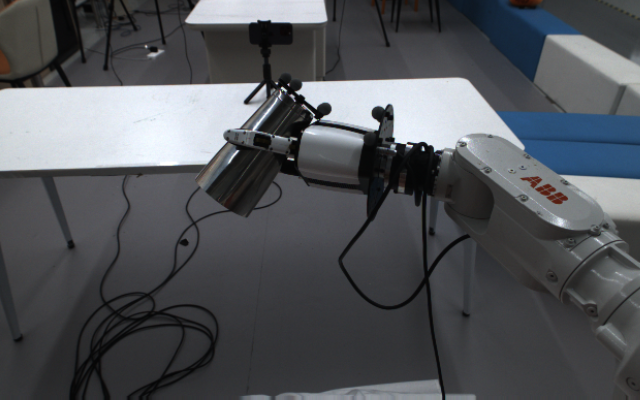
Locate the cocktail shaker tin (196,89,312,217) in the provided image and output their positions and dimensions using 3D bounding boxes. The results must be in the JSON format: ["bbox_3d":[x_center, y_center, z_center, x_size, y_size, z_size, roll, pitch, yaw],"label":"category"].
[{"bbox_3d":[-0.086,-0.072,0.683,0.170,0.093,0.093,-50,46,4],"label":"cocktail shaker tin"}]
